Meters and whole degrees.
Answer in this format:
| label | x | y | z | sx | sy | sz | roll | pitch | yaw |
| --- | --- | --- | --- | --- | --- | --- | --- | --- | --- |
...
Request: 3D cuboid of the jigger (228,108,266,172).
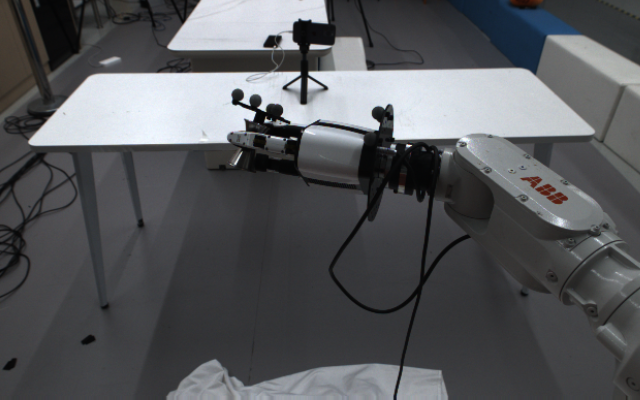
| label | x | y | z | sx | sy | sz | roll | pitch | yaw |
| --- | --- | --- | --- | --- | --- | --- | --- | --- | --- |
| jigger | -0.105 | -0.079 | 0.690 | 0.043 | 0.071 | 0.043 | 21 | 6 | -2 |
